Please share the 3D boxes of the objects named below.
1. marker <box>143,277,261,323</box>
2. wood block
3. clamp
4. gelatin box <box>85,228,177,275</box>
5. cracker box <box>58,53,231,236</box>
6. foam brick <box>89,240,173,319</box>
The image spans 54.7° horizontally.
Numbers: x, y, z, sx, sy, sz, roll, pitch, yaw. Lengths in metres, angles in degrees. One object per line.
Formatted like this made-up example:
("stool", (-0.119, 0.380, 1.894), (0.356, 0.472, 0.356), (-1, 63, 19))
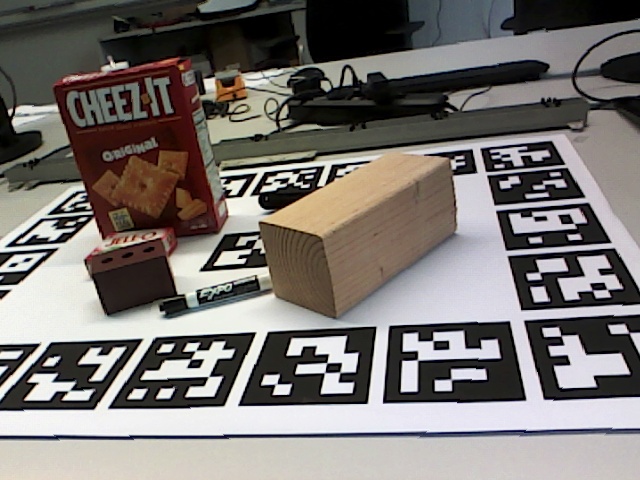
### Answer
("marker", (-0.122, 0.062, 0.639), (0.121, 0.019, 0.020), (-15, 29, -5))
("wood block", (0.040, -0.010, 0.645), (0.090, 0.090, 0.205), (14, 34, 44))
("clamp", (0.029, -0.060, 0.794), (0.202, 0.036, 0.166), (-20, 29, -14))
("gelatin box", (-0.232, 0.017, 0.764), (0.089, 0.030, 0.073), (-6, 30, 12))
("cracker box", (-0.221, -0.118, 0.803), (0.164, 0.213, 0.072), (-5, 27, 9))
("foam brick", (-0.207, 0.042, 0.678), (0.078, 0.051, 0.053), (-17, 29, -9))
